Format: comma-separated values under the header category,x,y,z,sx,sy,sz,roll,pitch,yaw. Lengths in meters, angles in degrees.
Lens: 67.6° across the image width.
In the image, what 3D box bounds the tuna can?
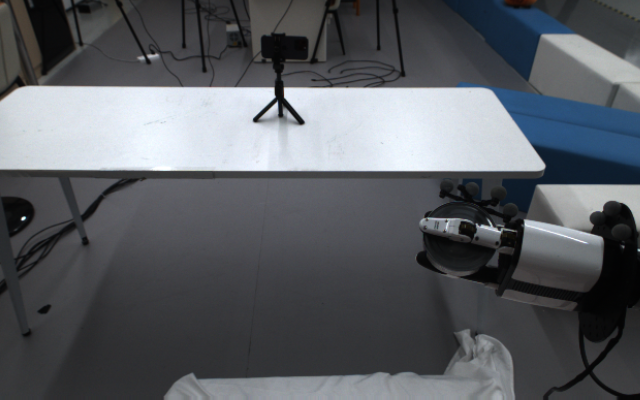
category,x,y,z,sx,sy,sz,roll,pitch,yaw
tuna can,0.168,0.043,0.579,0.085,0.034,0.085,-4,65,10
